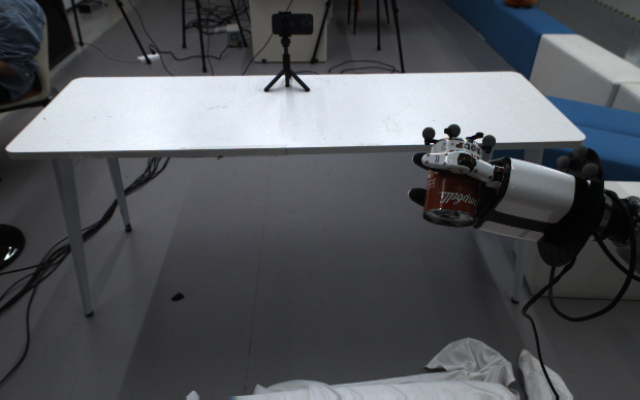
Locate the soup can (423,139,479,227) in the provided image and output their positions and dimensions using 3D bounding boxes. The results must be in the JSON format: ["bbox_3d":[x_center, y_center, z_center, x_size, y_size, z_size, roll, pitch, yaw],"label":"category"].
[{"bbox_3d":[0.176,-0.023,0.632,0.067,0.067,0.101,8,72,9],"label":"soup can"}]
